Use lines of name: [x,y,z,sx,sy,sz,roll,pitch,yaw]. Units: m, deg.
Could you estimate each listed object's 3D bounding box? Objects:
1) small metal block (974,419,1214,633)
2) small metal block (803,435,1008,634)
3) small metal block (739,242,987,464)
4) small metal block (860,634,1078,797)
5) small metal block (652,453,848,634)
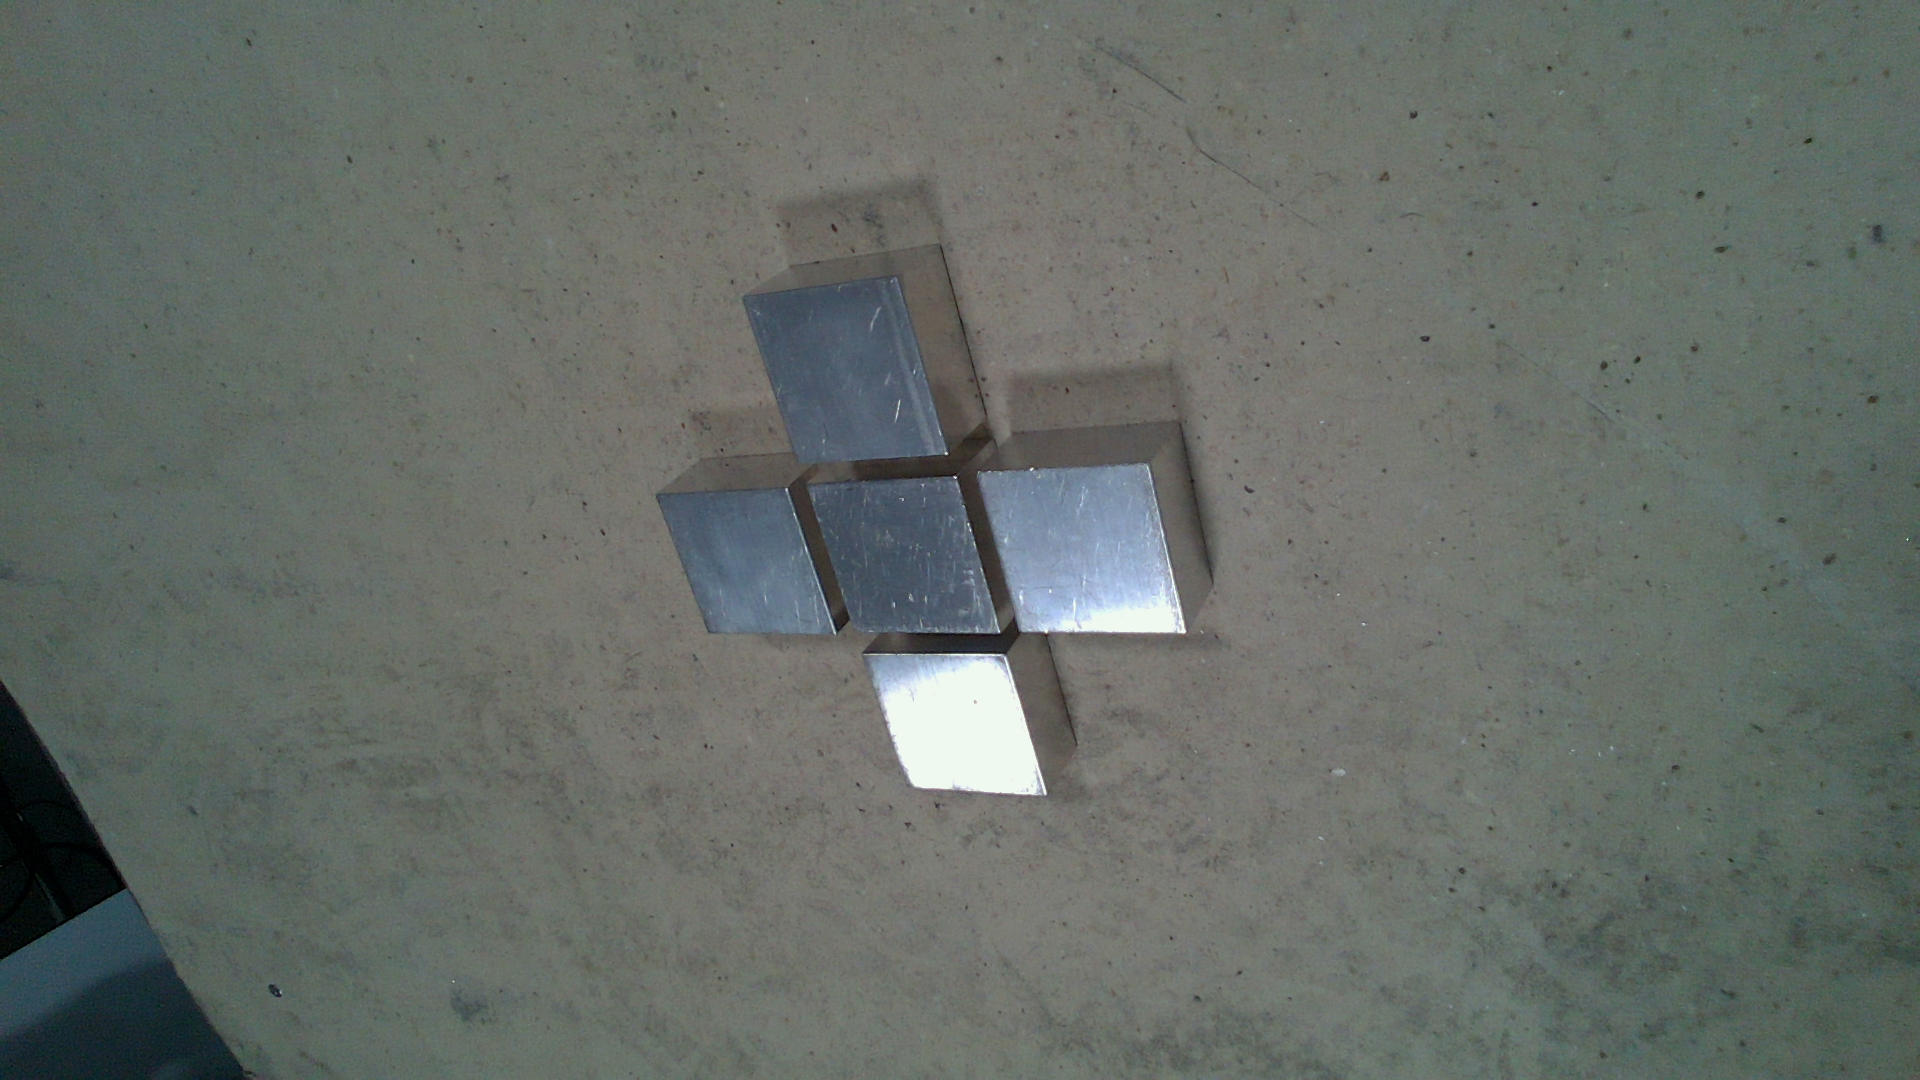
small metal block: [0.037,-0.003,0.372,0.050,0.025,0.050,-2,118,29]
small metal block: [-0.011,-0.001,0.399,0.050,0.025,0.050,-2,118,29]
small metal block: [-0.026,-0.050,0.376,0.050,0.025,0.050,-2,118,29]
small metal block: [0.004,0.050,0.422,0.050,0.025,0.050,-2,117,29]
small metal block: [-0.060,0.001,0.426,0.050,0.025,0.050,-2,118,29]
